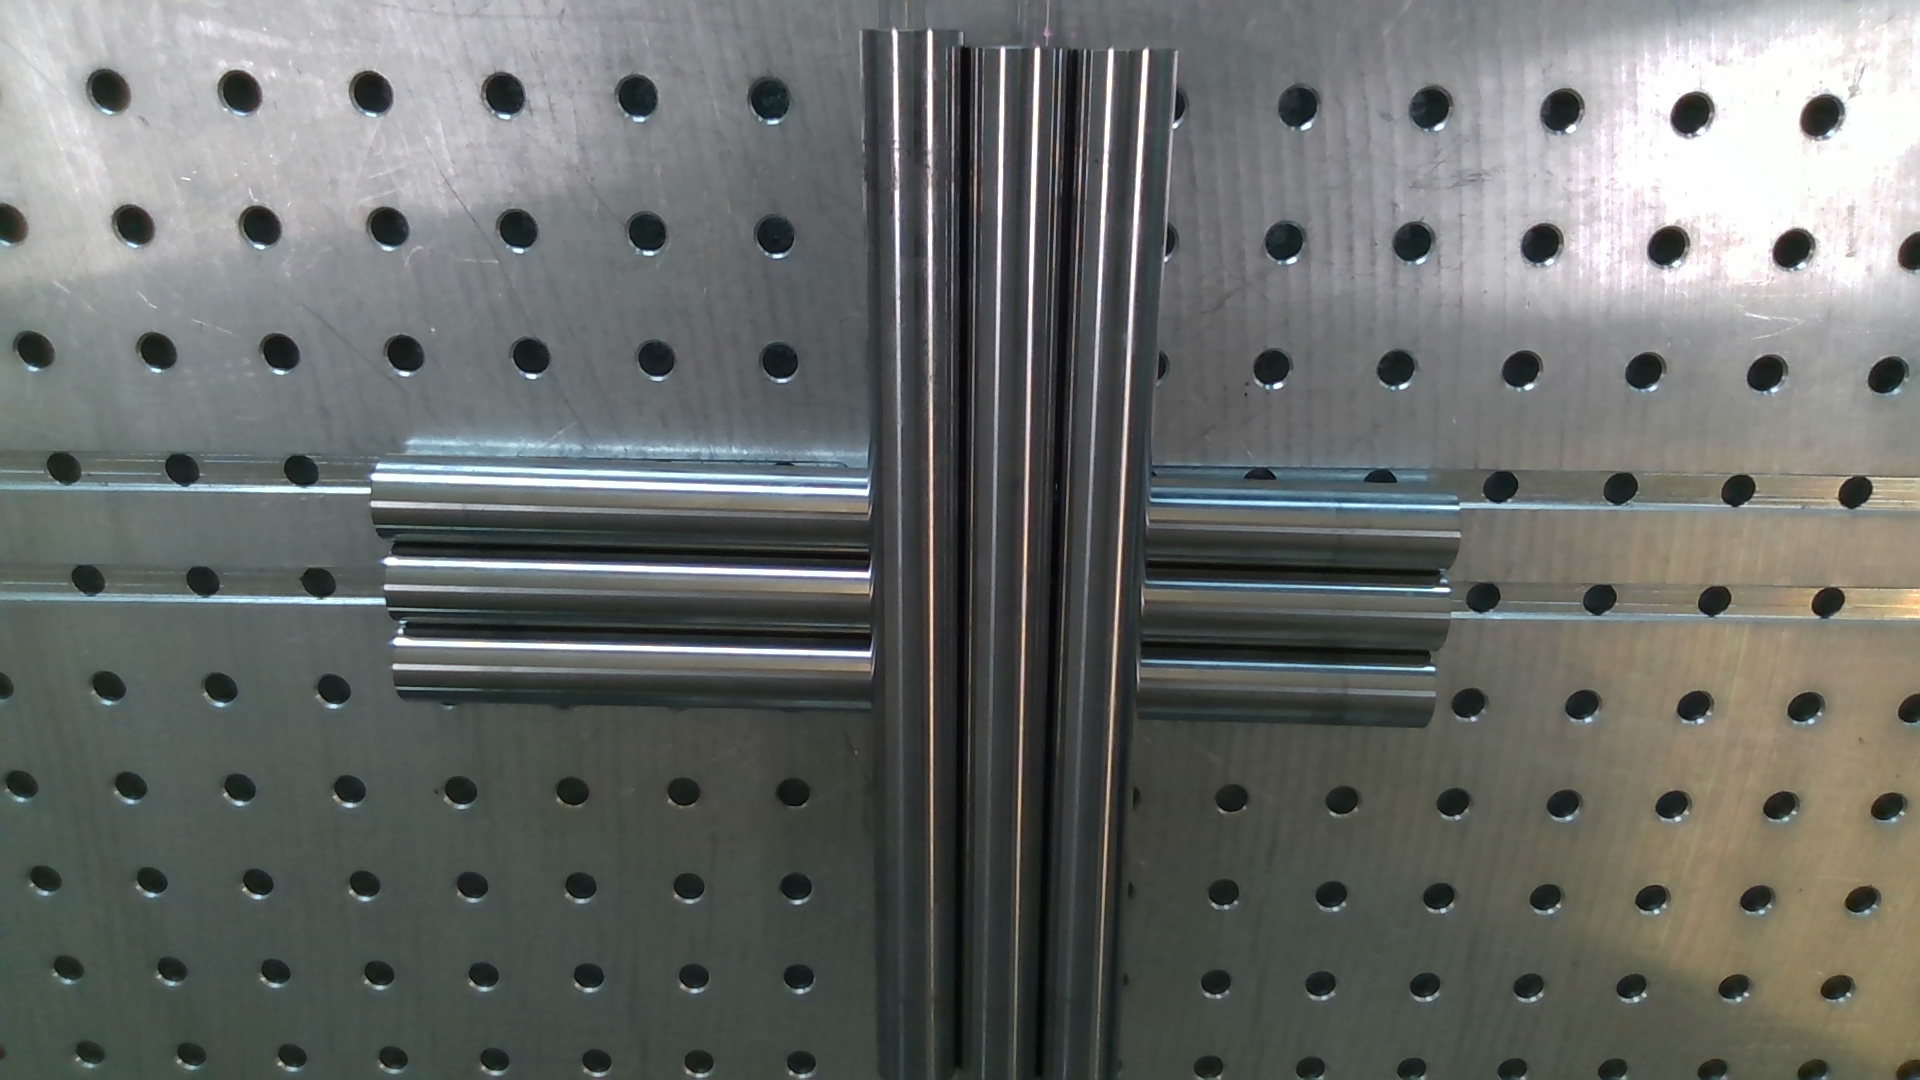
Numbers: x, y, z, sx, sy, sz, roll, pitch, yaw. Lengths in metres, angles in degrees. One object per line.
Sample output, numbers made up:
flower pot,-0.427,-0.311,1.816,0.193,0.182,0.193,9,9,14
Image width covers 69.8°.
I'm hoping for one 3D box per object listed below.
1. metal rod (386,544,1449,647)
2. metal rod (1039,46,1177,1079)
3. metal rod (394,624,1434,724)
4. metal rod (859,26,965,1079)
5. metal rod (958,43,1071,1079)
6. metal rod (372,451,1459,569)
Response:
metal rod,-0.011,0.015,0.401,0.300,0.025,0.025,2,110,-1
metal rod,0.038,0.024,0.378,0.025,0.025,0.301,0,110,0
metal rod,-0.013,0.038,0.410,0.300,0.025,0.025,2,110,-1
metal rod,-0.013,0.020,0.376,0.025,0.025,0.301,0,110,0
metal rod,0.013,0.024,0.378,0.025,0.025,0.301,0,110,0
metal rod,-0.012,-0.009,0.392,0.300,0.025,0.025,2,110,-1
